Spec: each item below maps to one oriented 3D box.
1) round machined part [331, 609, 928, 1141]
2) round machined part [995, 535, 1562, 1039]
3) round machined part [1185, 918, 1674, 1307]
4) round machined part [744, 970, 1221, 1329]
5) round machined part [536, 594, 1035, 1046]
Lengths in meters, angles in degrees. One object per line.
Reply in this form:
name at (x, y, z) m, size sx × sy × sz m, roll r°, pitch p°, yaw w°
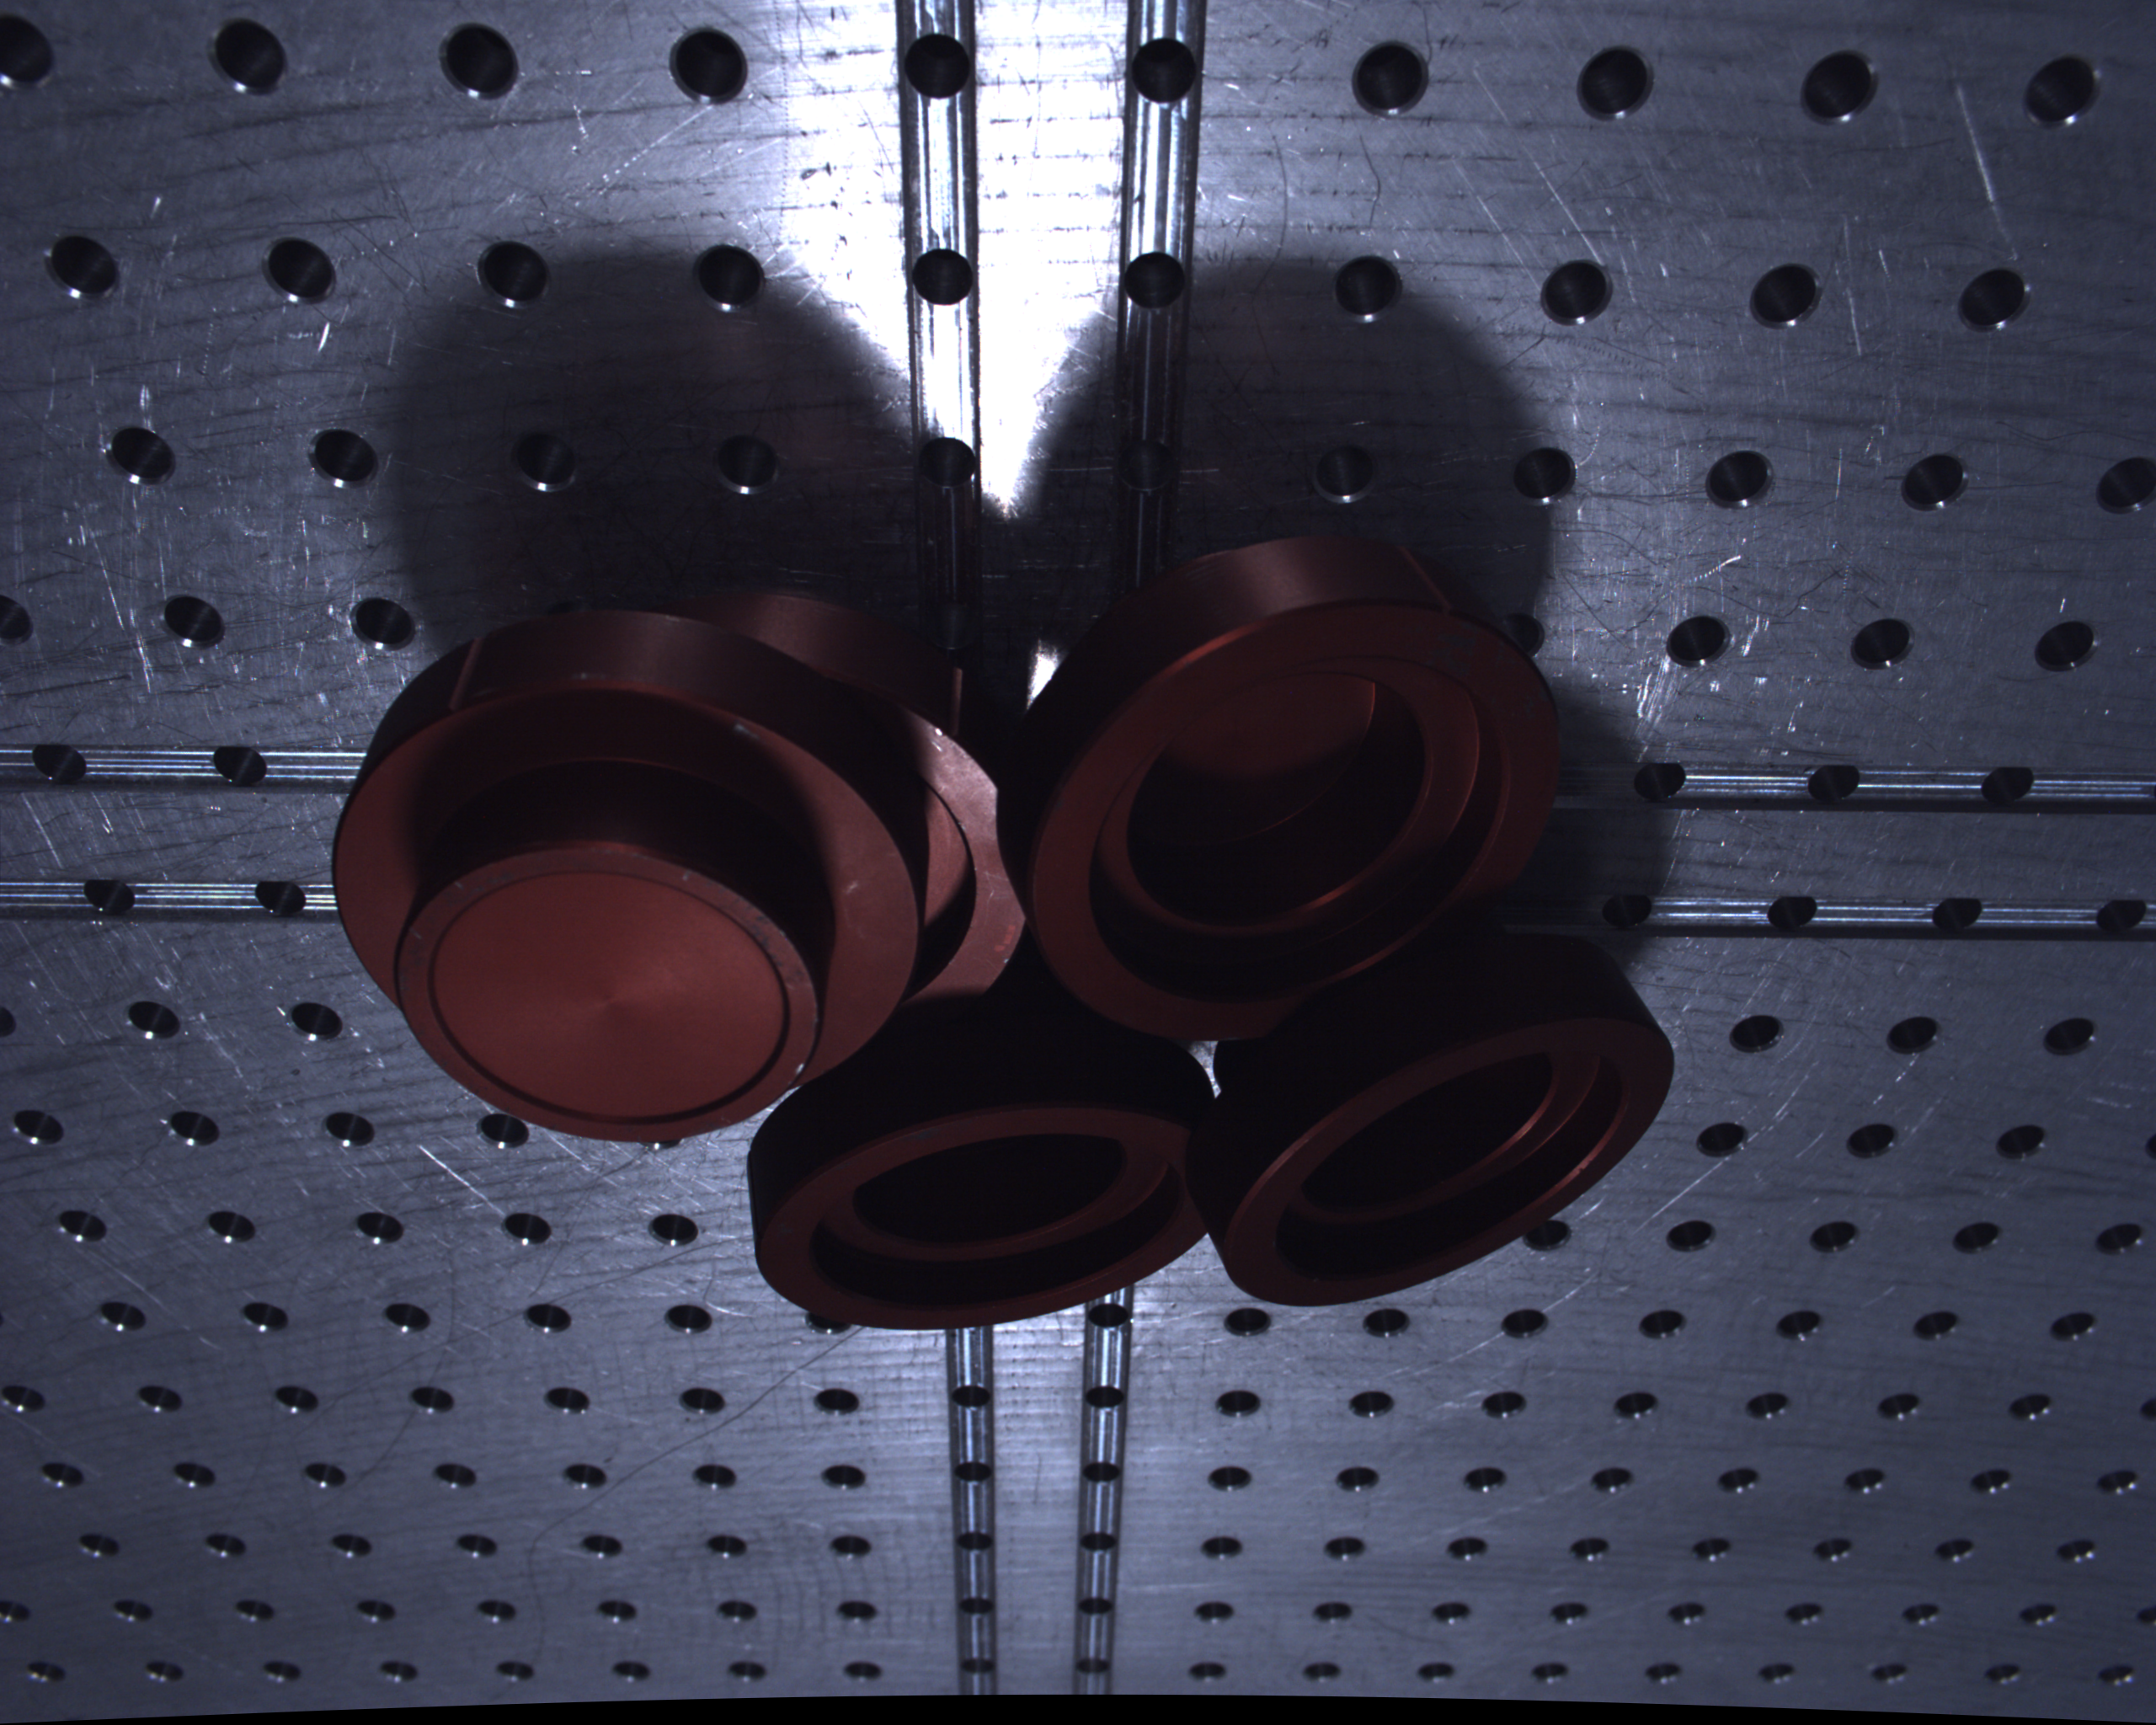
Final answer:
round machined part at (-0.075, 0.009, 0.351) m, size 0.099 × 0.042 × 0.097 m, roll -1°, pitch 130°, yaw 0°
round machined part at (0.032, -0.017, 0.375) m, size 0.099 × 0.042 × 0.097 m, roll -11°, pitch 133°, yaw -12°
round machined part at (0.067, 0.046, 0.425) m, size 0.099 × 0.042 × 0.097 m, roll -17°, pitch 143°, yaw -13°
round machined part at (-0.020, 0.058, 0.438) m, size 0.099 × 0.042 × 0.098 m, roll -8°, pitch 145°, yaw -6°
round machined part at (-0.057, -0.010, 0.391) m, size 0.099 × 0.042 × 0.097 m, roll -1°, pitch 130°, yaw 0°
